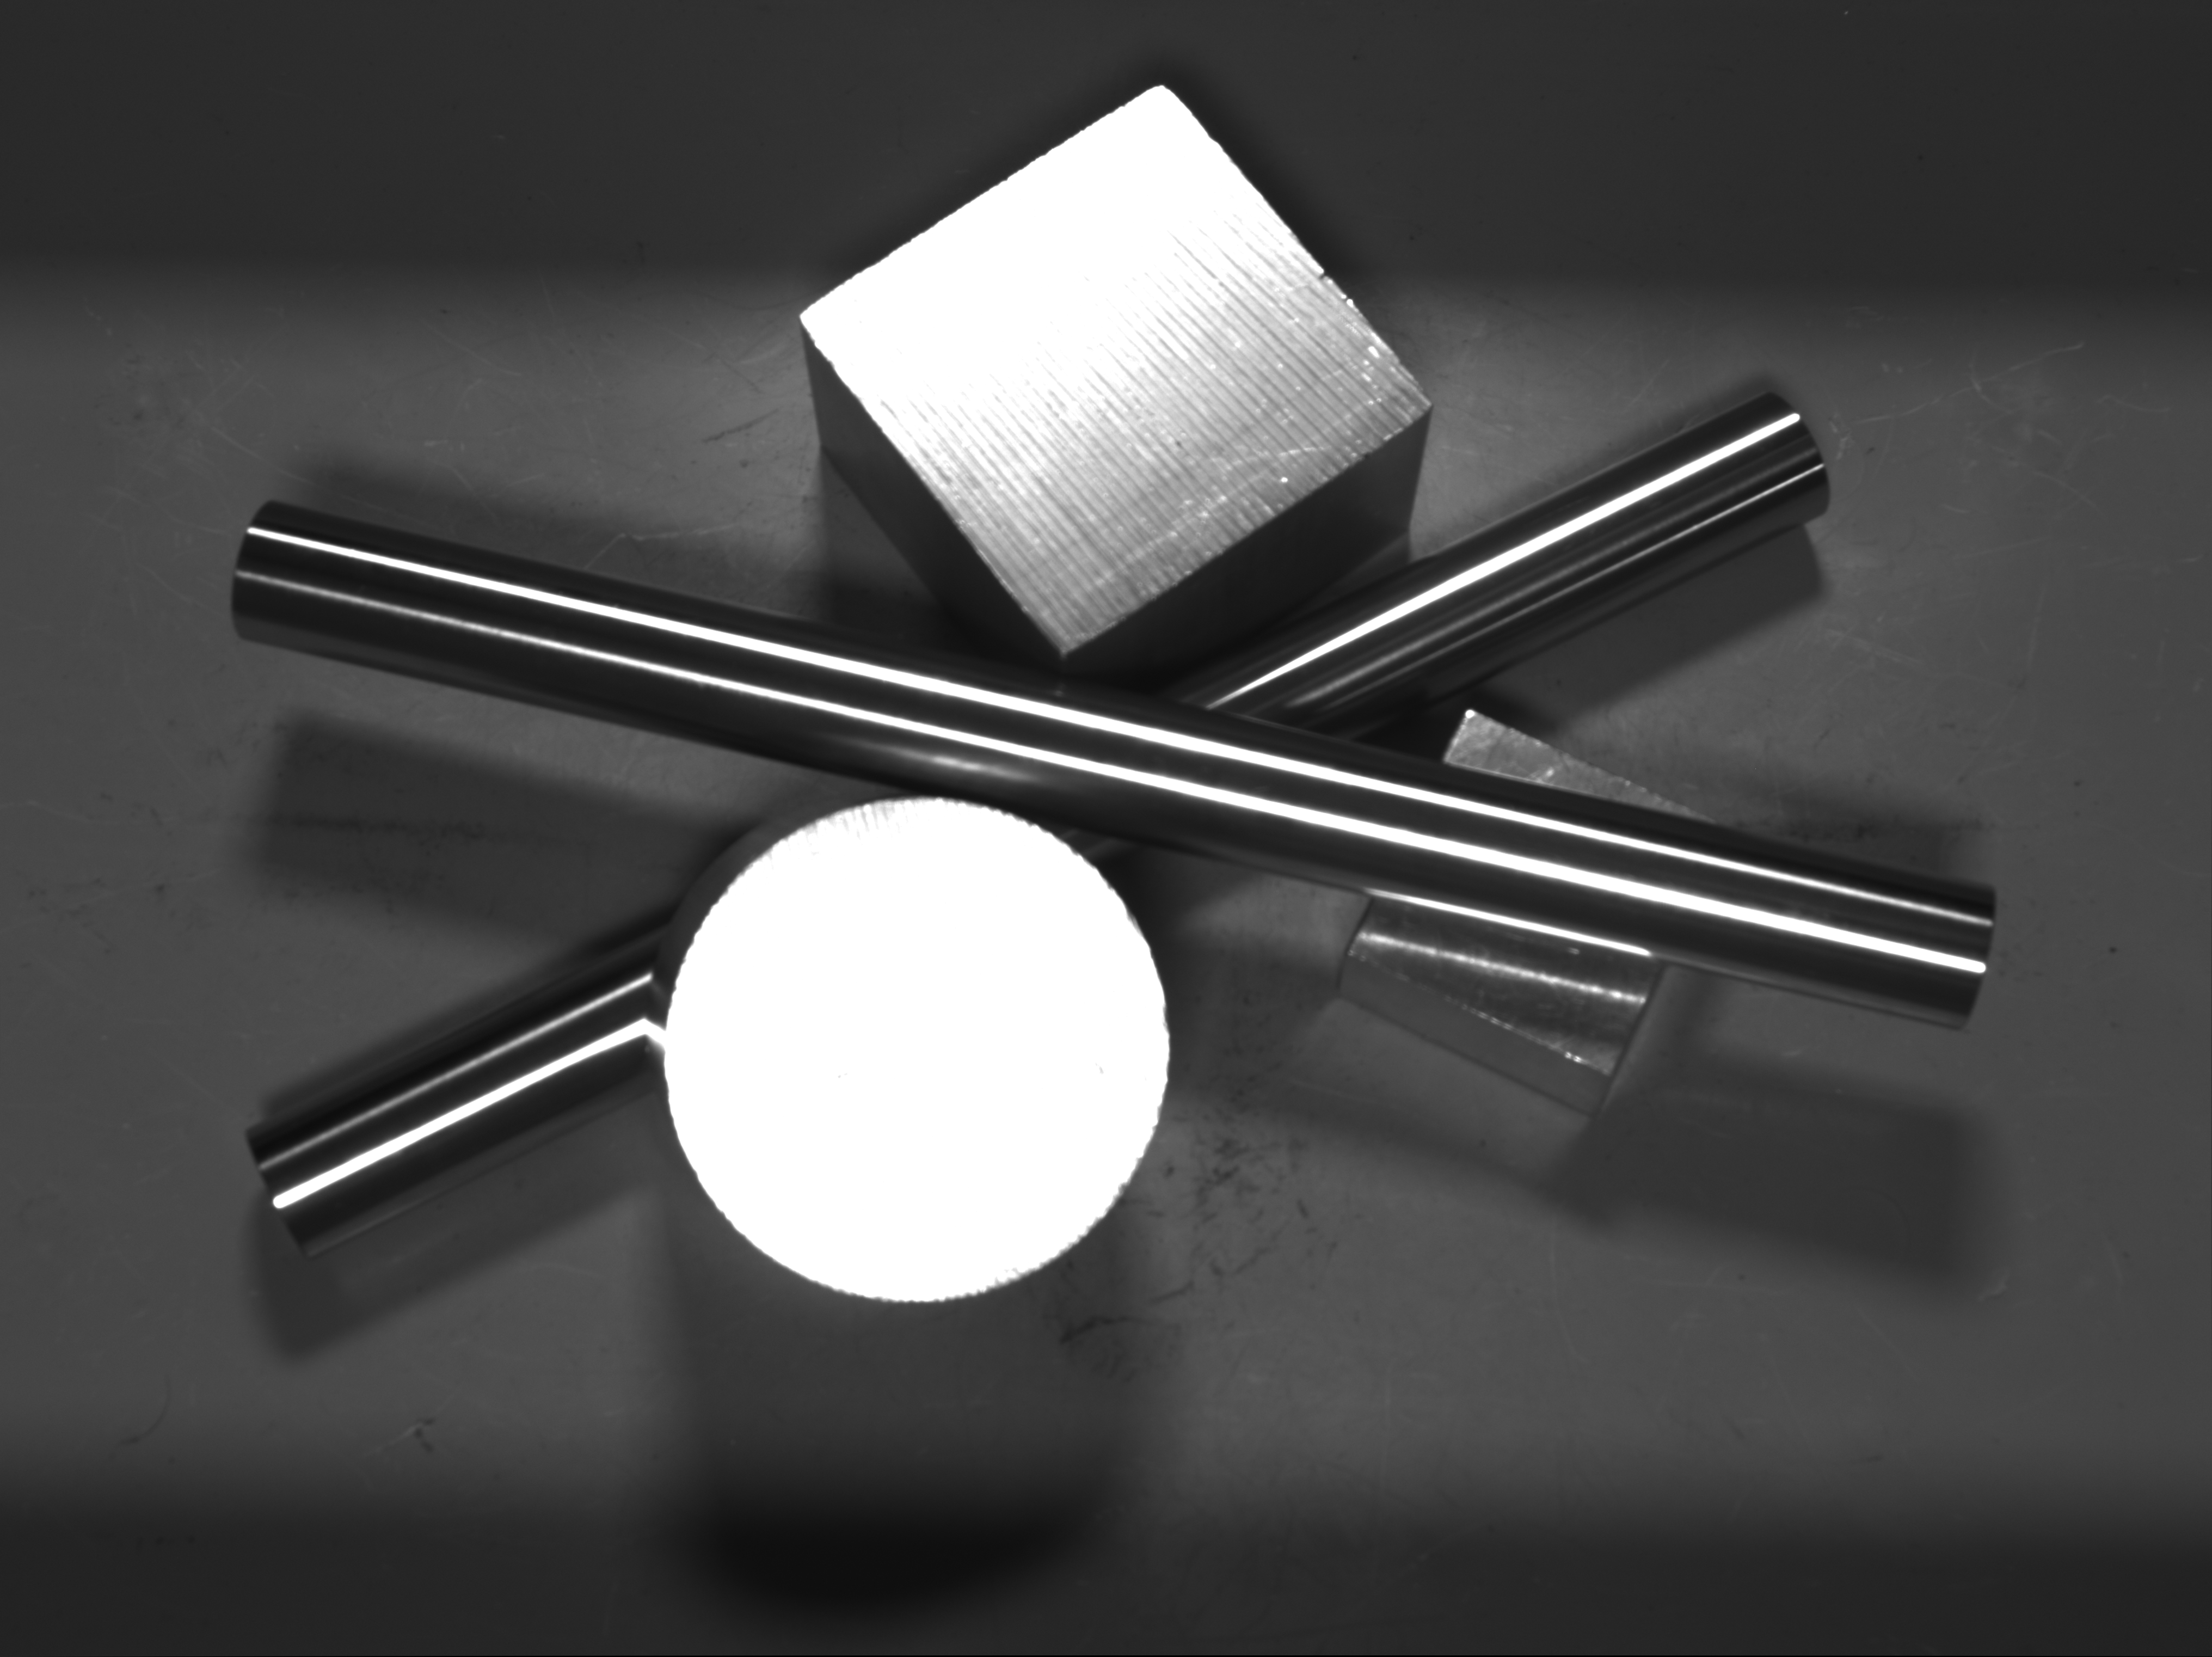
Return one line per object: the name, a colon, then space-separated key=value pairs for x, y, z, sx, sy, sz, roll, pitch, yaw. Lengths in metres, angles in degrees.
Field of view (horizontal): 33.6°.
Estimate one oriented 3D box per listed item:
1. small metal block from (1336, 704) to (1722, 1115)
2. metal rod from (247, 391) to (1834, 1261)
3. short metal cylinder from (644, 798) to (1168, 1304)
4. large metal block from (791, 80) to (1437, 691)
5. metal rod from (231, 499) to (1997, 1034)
small metal block: x=0.074 y=0.014 z=0.637 sx=0.050 sy=0.025 sz=0.050 roll=25 pitch=72 yaw=9
metal rod: x=-0.007 y=-0.003 z=0.644 sx=0.300 sy=0.025 sz=0.025 roll=-26 pitch=72 yaw=-9
short metal cylinder: x=-0.034 y=0.035 z=0.603 sx=0.080 sy=0.050 sz=0.080 roll=0 pitch=92 yaw=-11
large metal block: x=0.001 y=-0.072 z=0.656 sx=0.080 sy=0.050 sz=0.080 roll=-34 pitch=73 yaw=-12
metal rod: x=-0.001 y=-0.011 z=0.621 sx=0.300 sy=0.025 sz=0.025 roll=13 pitch=70 yaw=5
